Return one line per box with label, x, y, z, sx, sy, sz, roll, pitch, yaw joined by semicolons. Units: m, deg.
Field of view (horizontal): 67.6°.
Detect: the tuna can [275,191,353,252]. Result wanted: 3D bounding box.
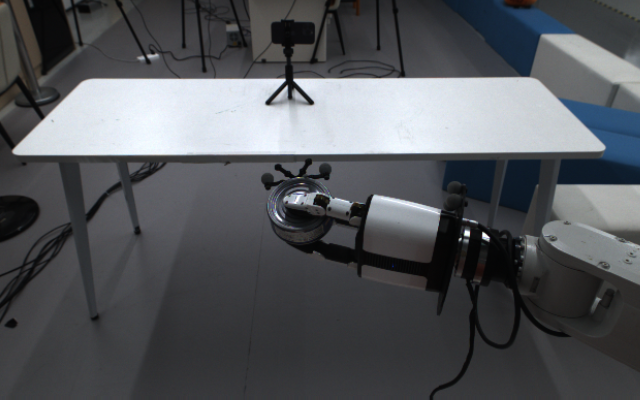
tuna can;-0.021;0.018;0.623;0.085;0.034;0.085;-3;58;5
